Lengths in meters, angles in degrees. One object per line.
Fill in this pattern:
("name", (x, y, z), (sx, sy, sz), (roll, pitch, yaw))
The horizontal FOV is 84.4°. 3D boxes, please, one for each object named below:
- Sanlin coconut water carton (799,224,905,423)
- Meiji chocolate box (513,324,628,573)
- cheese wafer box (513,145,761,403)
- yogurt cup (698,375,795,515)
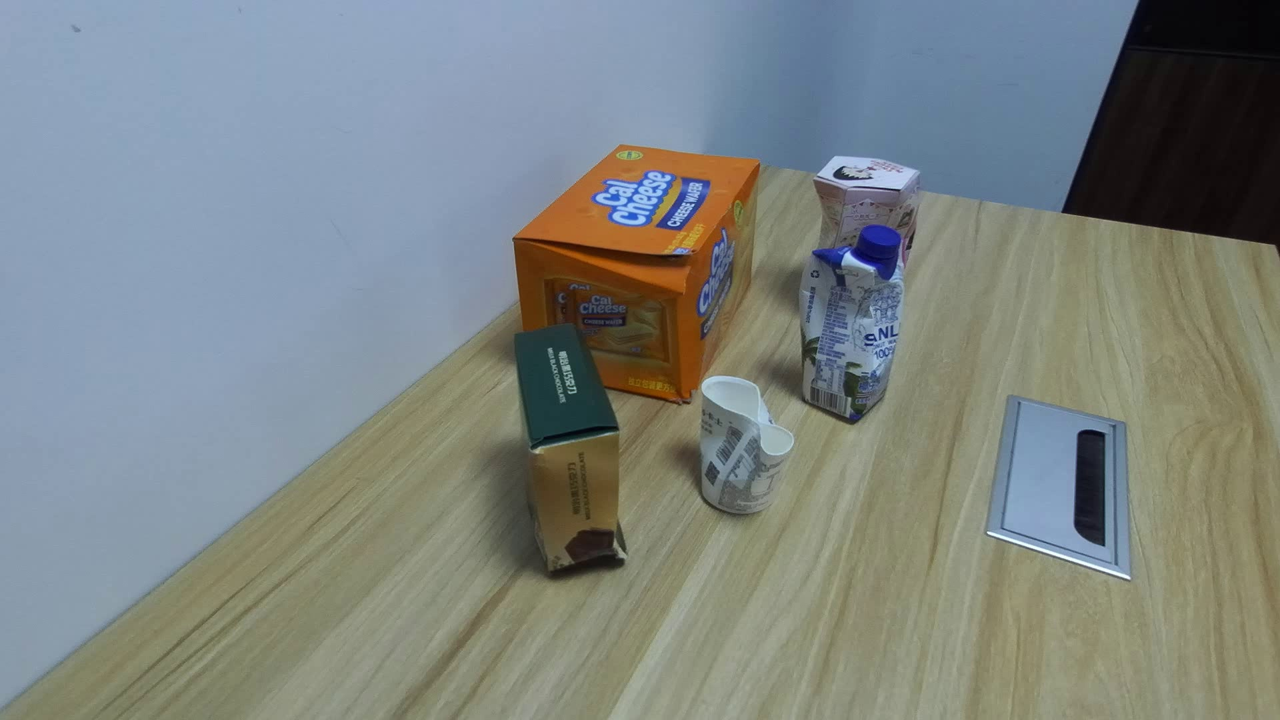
("Sanlin coconut water carton", (0.159, -0.033, 0.534), (0.068, 0.145, 0.057), (17, 32, 36))
("Meiji chocolate box", (-0.045, 0.054, 0.446), (0.058, 0.116, 0.122), (-9, 35, -7))
("cheese wafer box", (0.009, -0.088, 0.621), (0.149, 0.137, 0.227), (12, 37, 17))
("yogurt cup", (0.067, 0.059, 0.462), (0.075, 0.071, 0.054), (22, 43, 28))
